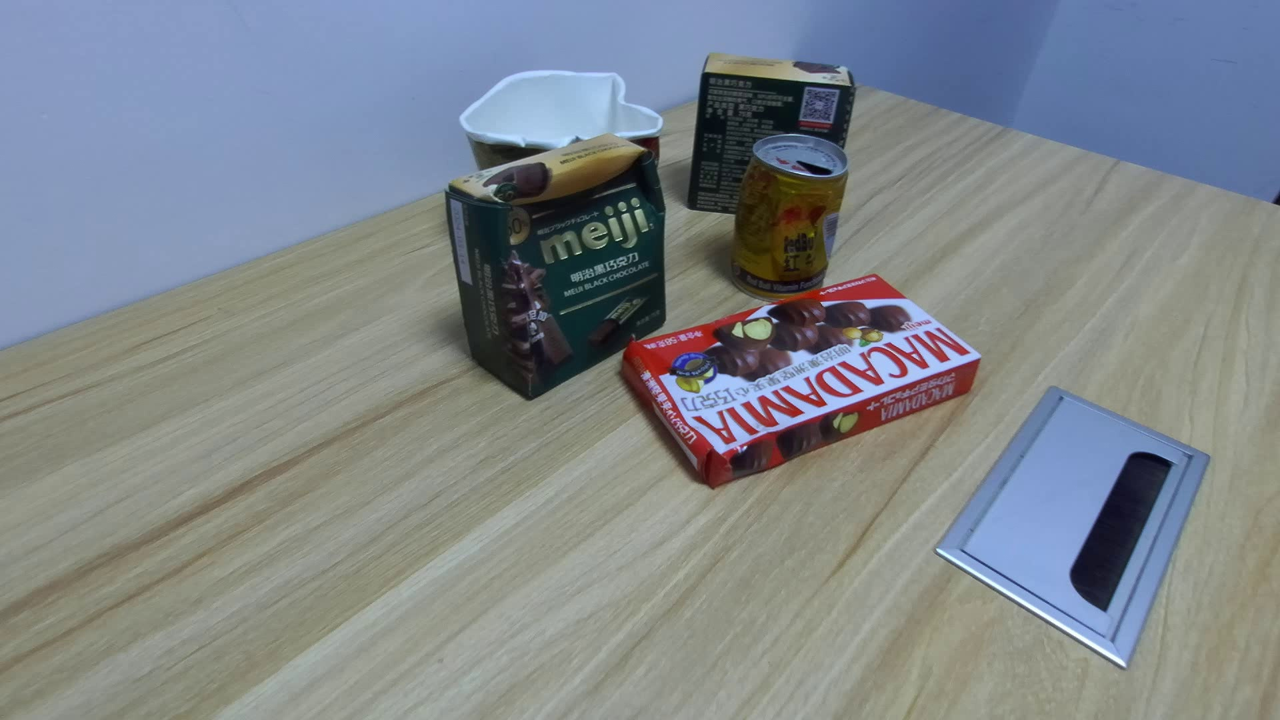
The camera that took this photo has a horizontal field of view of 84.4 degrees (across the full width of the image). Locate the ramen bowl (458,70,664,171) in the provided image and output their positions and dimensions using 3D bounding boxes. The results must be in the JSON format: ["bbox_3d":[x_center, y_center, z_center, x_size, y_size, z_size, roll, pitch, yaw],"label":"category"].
[{"bbox_3d":[-0.057,-0.138,0.502,0.134,0.097,0.113,-14,44,-21],"label":"ramen bowl"}]

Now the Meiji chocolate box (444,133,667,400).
[{"bbox_3d":[-0.040,-0.057,0.399,0.118,0.117,0.051,-29,40,-33],"label":"Meiji chocolate box"}]

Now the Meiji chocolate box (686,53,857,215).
[{"bbox_3d":[0.099,-0.169,0.544,0.113,0.111,0.058,8,35,5],"label":"Meiji chocolate box"}]

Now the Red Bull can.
[{"bbox_3d":[0.096,-0.091,0.460,0.072,0.092,0.072,2,40,-2],"label":"Red Bull can"}]

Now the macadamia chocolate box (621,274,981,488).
[{"bbox_3d":[0.091,0.003,0.401,0.183,0.028,0.105,-16,44,-21],"label":"macadamia chocolate box"}]
